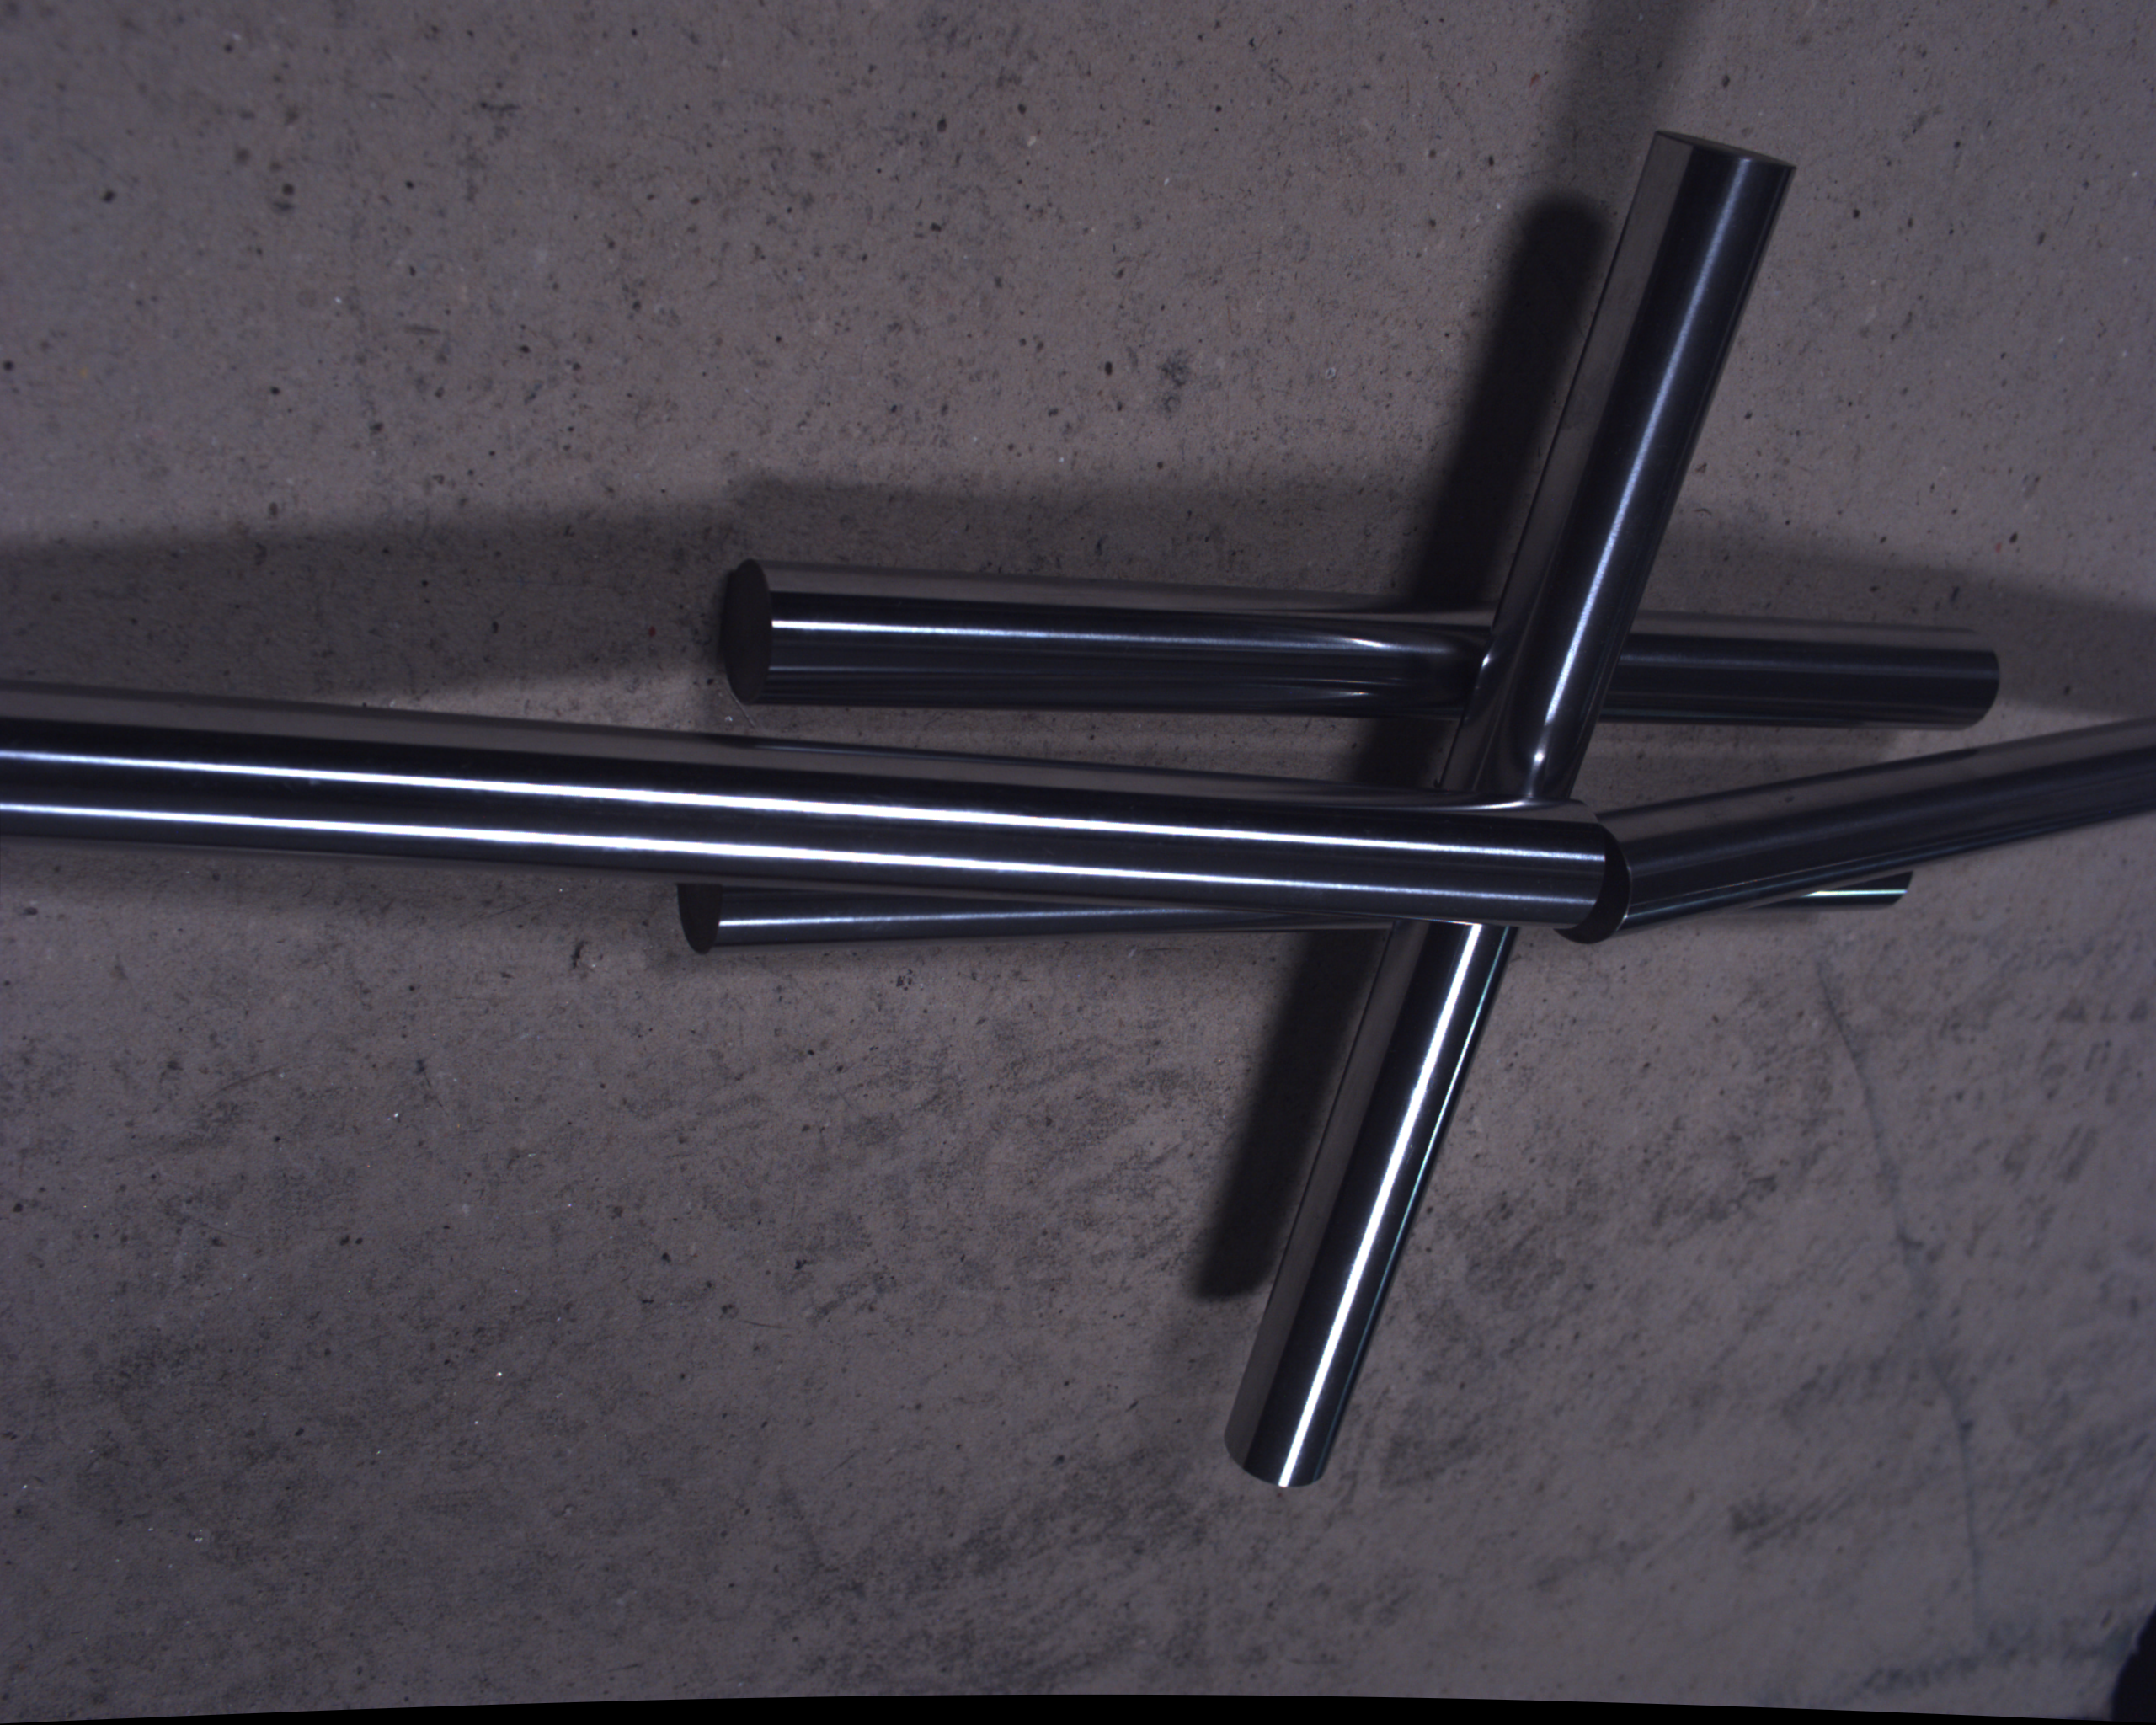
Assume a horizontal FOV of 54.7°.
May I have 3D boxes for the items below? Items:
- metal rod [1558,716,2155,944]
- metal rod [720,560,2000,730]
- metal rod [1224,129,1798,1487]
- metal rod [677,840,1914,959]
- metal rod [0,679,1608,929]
[{"bbox_3d":[0.217,-0.016,0.487,0.303,0.025,0.025,-9,123,-36],"label":"metal rod"},{"bbox_3d":[0.076,-0.041,0.426,0.303,0.025,0.025,-1,119,-28],"label":"metal rod"},{"bbox_3d":[0.079,0.006,0.425,0.025,0.025,0.298,0,119,-29],"label":"metal rod"},{"bbox_3d":[0.065,0.002,0.446,0.303,0.025,0.025,-1,119,-28],"label":"metal rod"},{"bbox_3d":[-0.048,-0.008,0.345,0.302,0.025,0.025,3,117,-20],"label":"metal rod"}]
